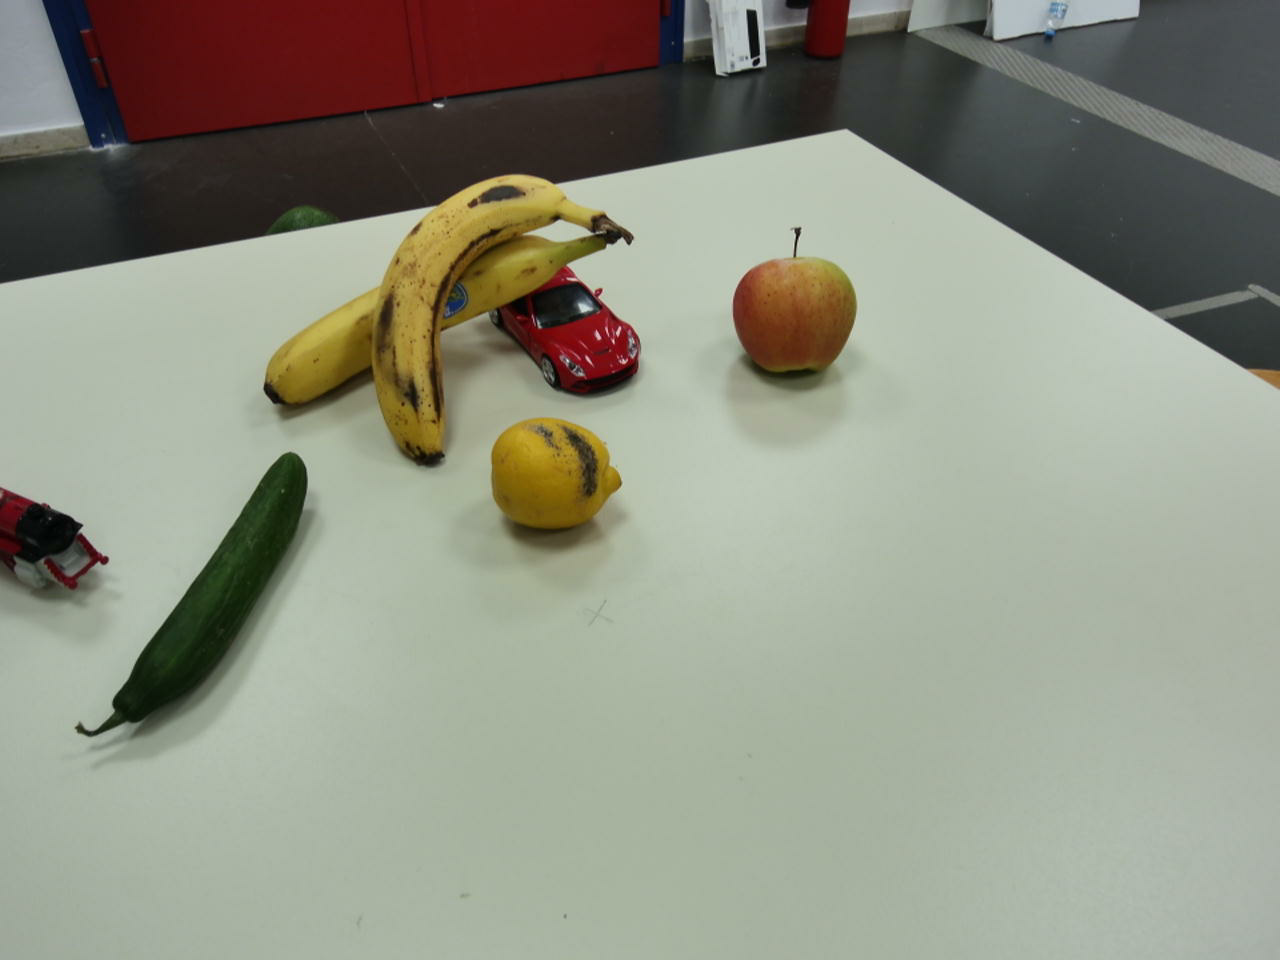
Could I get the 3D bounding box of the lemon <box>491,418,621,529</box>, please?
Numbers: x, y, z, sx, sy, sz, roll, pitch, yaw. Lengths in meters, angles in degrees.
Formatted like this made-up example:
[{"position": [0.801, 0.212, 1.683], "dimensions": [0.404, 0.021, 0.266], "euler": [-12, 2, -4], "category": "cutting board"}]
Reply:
[{"position": [-0.046, -0.004, 0.505], "dimensions": [0.061, 0.056, 0.058], "euler": [-22, 44, -26], "category": "lemon"}]
